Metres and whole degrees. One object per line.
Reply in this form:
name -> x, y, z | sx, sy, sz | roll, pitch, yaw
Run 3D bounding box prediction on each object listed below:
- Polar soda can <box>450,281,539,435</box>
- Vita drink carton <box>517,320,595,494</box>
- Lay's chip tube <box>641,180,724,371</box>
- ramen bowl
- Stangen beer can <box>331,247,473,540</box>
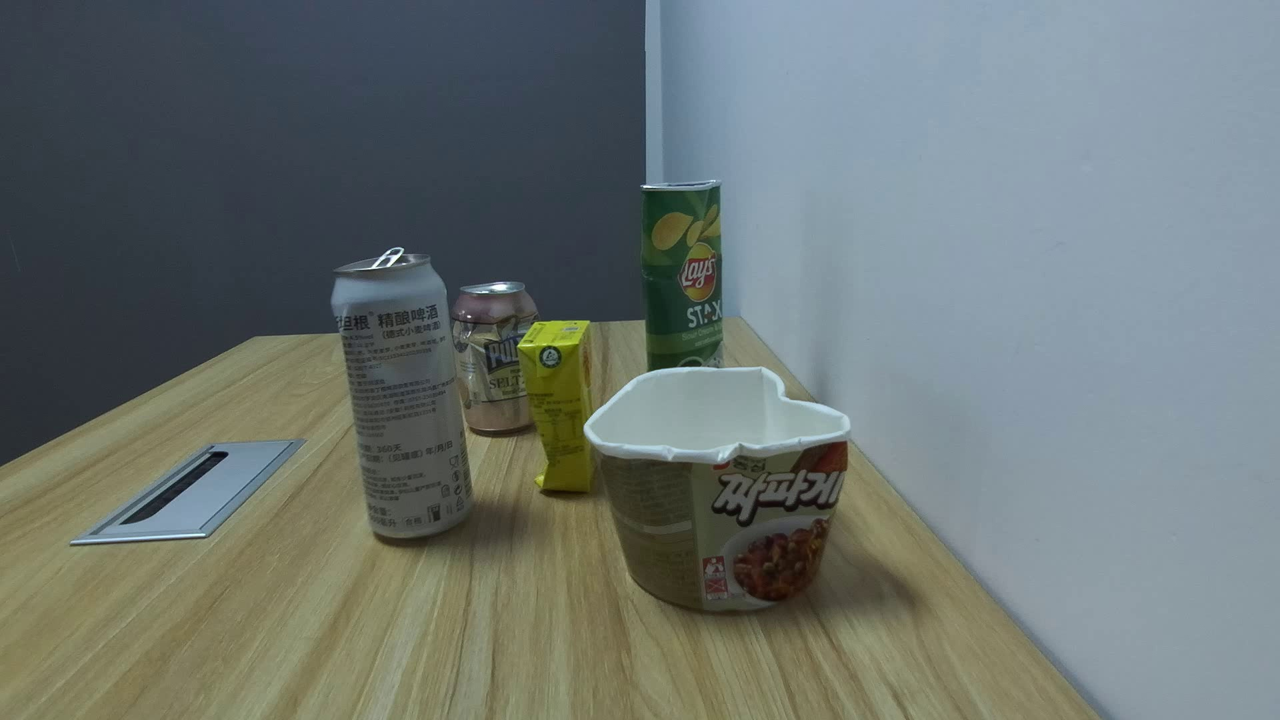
Polar soda can -> -0.125, -0.002, 0.612 | 0.074, 0.122, 0.067 | 0, 15, 1
Vita drink carton -> -0.055, 0.033, 0.498 | 0.043, 0.109, 0.076 | -2, 18, 3
Lay's chip tube -> 0.038, -0.044, 0.591 | 0.069, 0.199, 0.075 | -2, 17, 2
ramen bowl -> 0.035, 0.066, 0.385 | 0.134, 0.097, 0.113 | -6, 18, -18
Stangen beer can -> -0.146, 0.022, 0.433 | 0.070, 0.173, 0.069 | -16, 21, -40
